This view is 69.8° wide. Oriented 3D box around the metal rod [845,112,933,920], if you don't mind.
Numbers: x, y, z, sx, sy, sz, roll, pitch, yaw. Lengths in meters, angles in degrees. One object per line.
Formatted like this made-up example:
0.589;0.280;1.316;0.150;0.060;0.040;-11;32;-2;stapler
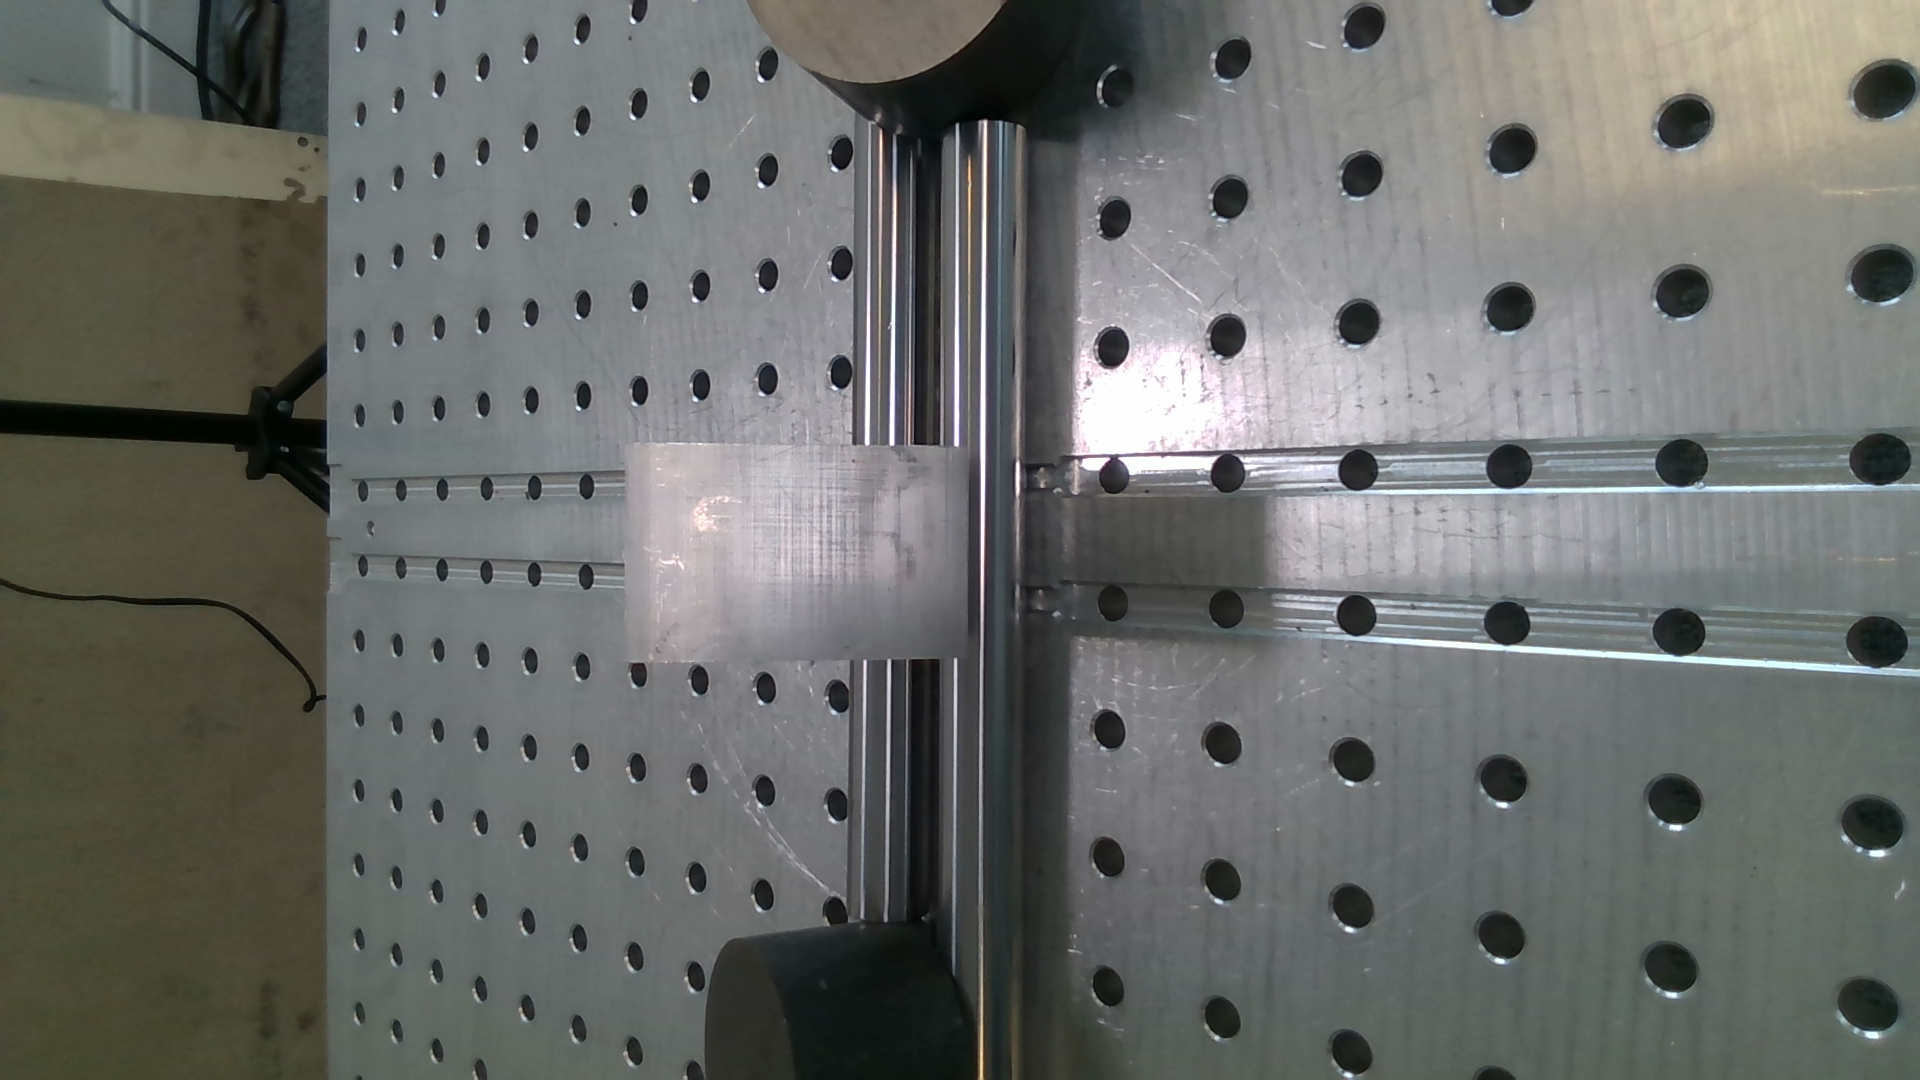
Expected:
-0.021;-0.039;0.410;0.025;0.025;0.300;1;91;40;metal rod

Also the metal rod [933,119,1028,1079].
0.005;0.036;0.389;0.025;0.025;0.300;1;91;40;metal rod

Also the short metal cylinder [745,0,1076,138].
-0.013;-0.155;0.368;0.080;0.050;0.080;0;91;17;short metal cylinder

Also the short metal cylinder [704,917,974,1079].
-0.037;0.151;0.393;0.080;0.050;0.080;-2;88;62;short metal cylinder

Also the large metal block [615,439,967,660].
-0.044;0.002;0.356;0.080;0.080;0.050;-175;86;-82;large metal block
